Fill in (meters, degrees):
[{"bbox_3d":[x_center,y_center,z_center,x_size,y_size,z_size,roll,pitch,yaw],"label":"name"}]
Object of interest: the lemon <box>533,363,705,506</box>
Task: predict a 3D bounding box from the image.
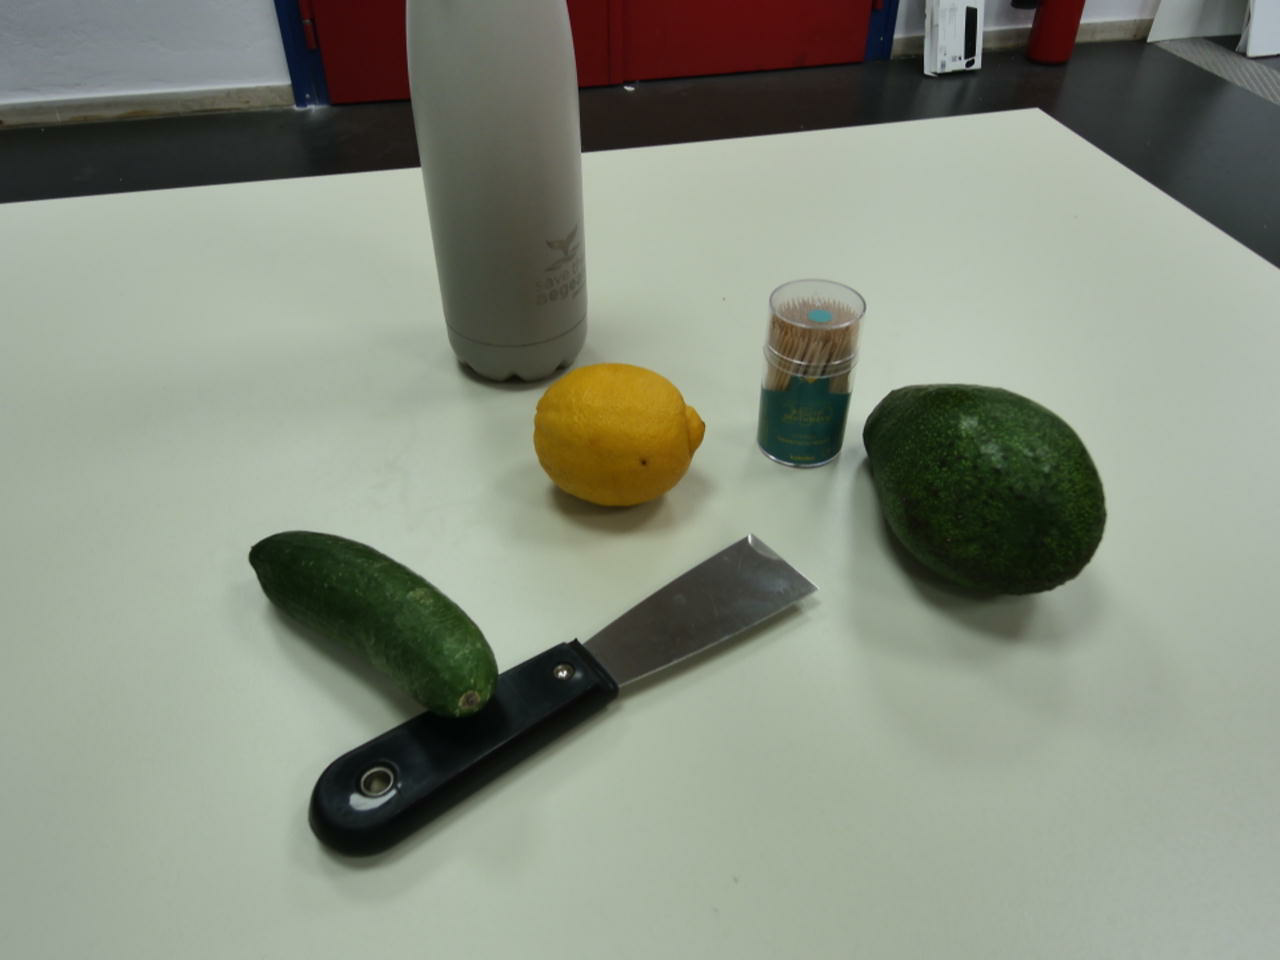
[{"bbox_3d":[-0.010,-0.019,0.419,0.067,0.059,0.060,19,42,22],"label":"lemon"}]
